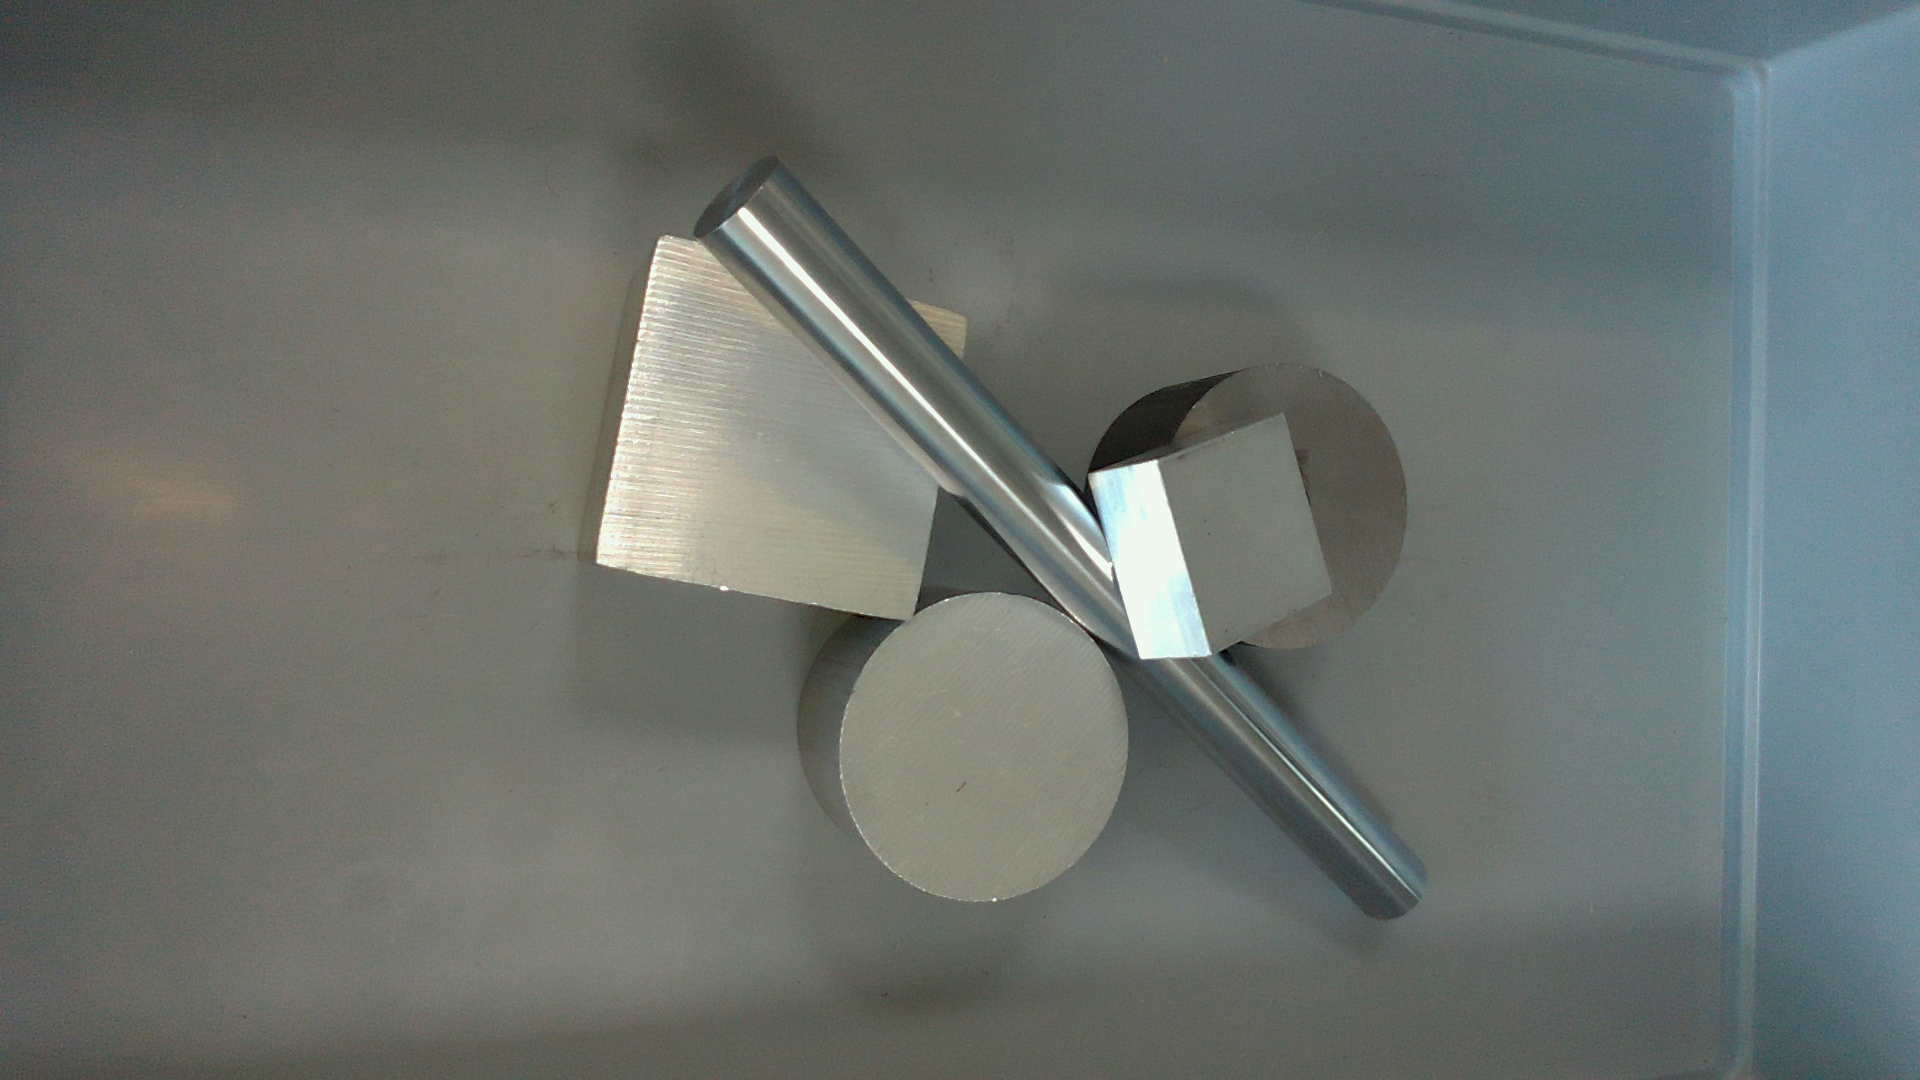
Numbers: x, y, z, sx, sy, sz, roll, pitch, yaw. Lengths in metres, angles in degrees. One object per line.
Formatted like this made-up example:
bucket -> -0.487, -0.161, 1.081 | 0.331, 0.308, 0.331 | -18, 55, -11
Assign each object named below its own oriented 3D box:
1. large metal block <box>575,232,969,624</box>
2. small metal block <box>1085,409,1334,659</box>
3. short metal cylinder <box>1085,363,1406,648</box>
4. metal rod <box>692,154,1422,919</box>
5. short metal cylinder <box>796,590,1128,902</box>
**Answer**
large metal block -> -0.050, -0.026, 0.359 | 0.080, 0.050, 0.080 | 12, 86, -20
small metal block -> 0.065, -0.002, 0.356 | 0.050, 0.025, 0.050 | -22, 97, -37
short metal cylinder -> 0.084, -0.010, 0.409 | 0.080, 0.050, 0.080 | 0, 90, -20
metal rod -> 0.044, 0.018, 0.371 | 0.301, 0.025, 0.025 | 45, 76, -29
short metal cylinder -> -0.001, 0.053, 0.379 | 0.080, 0.050, 0.080 | 0, 90, -20
